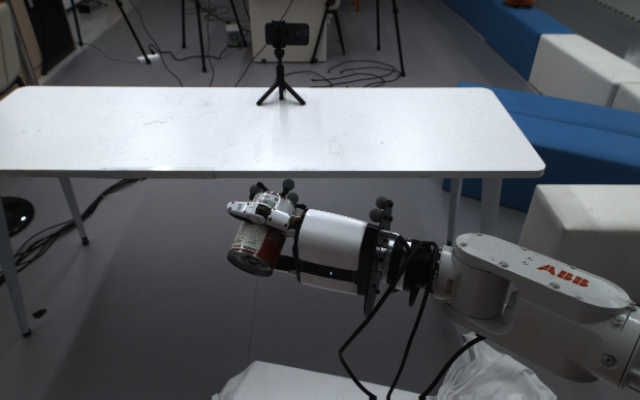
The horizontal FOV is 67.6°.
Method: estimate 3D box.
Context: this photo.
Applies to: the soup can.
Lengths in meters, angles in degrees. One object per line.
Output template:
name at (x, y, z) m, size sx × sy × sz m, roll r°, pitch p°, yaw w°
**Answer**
soup can at (-0.080, 0.046, 0.676) m, size 0.067 × 0.067 × 0.101 m, roll 12°, pitch 59°, yaw 14°
